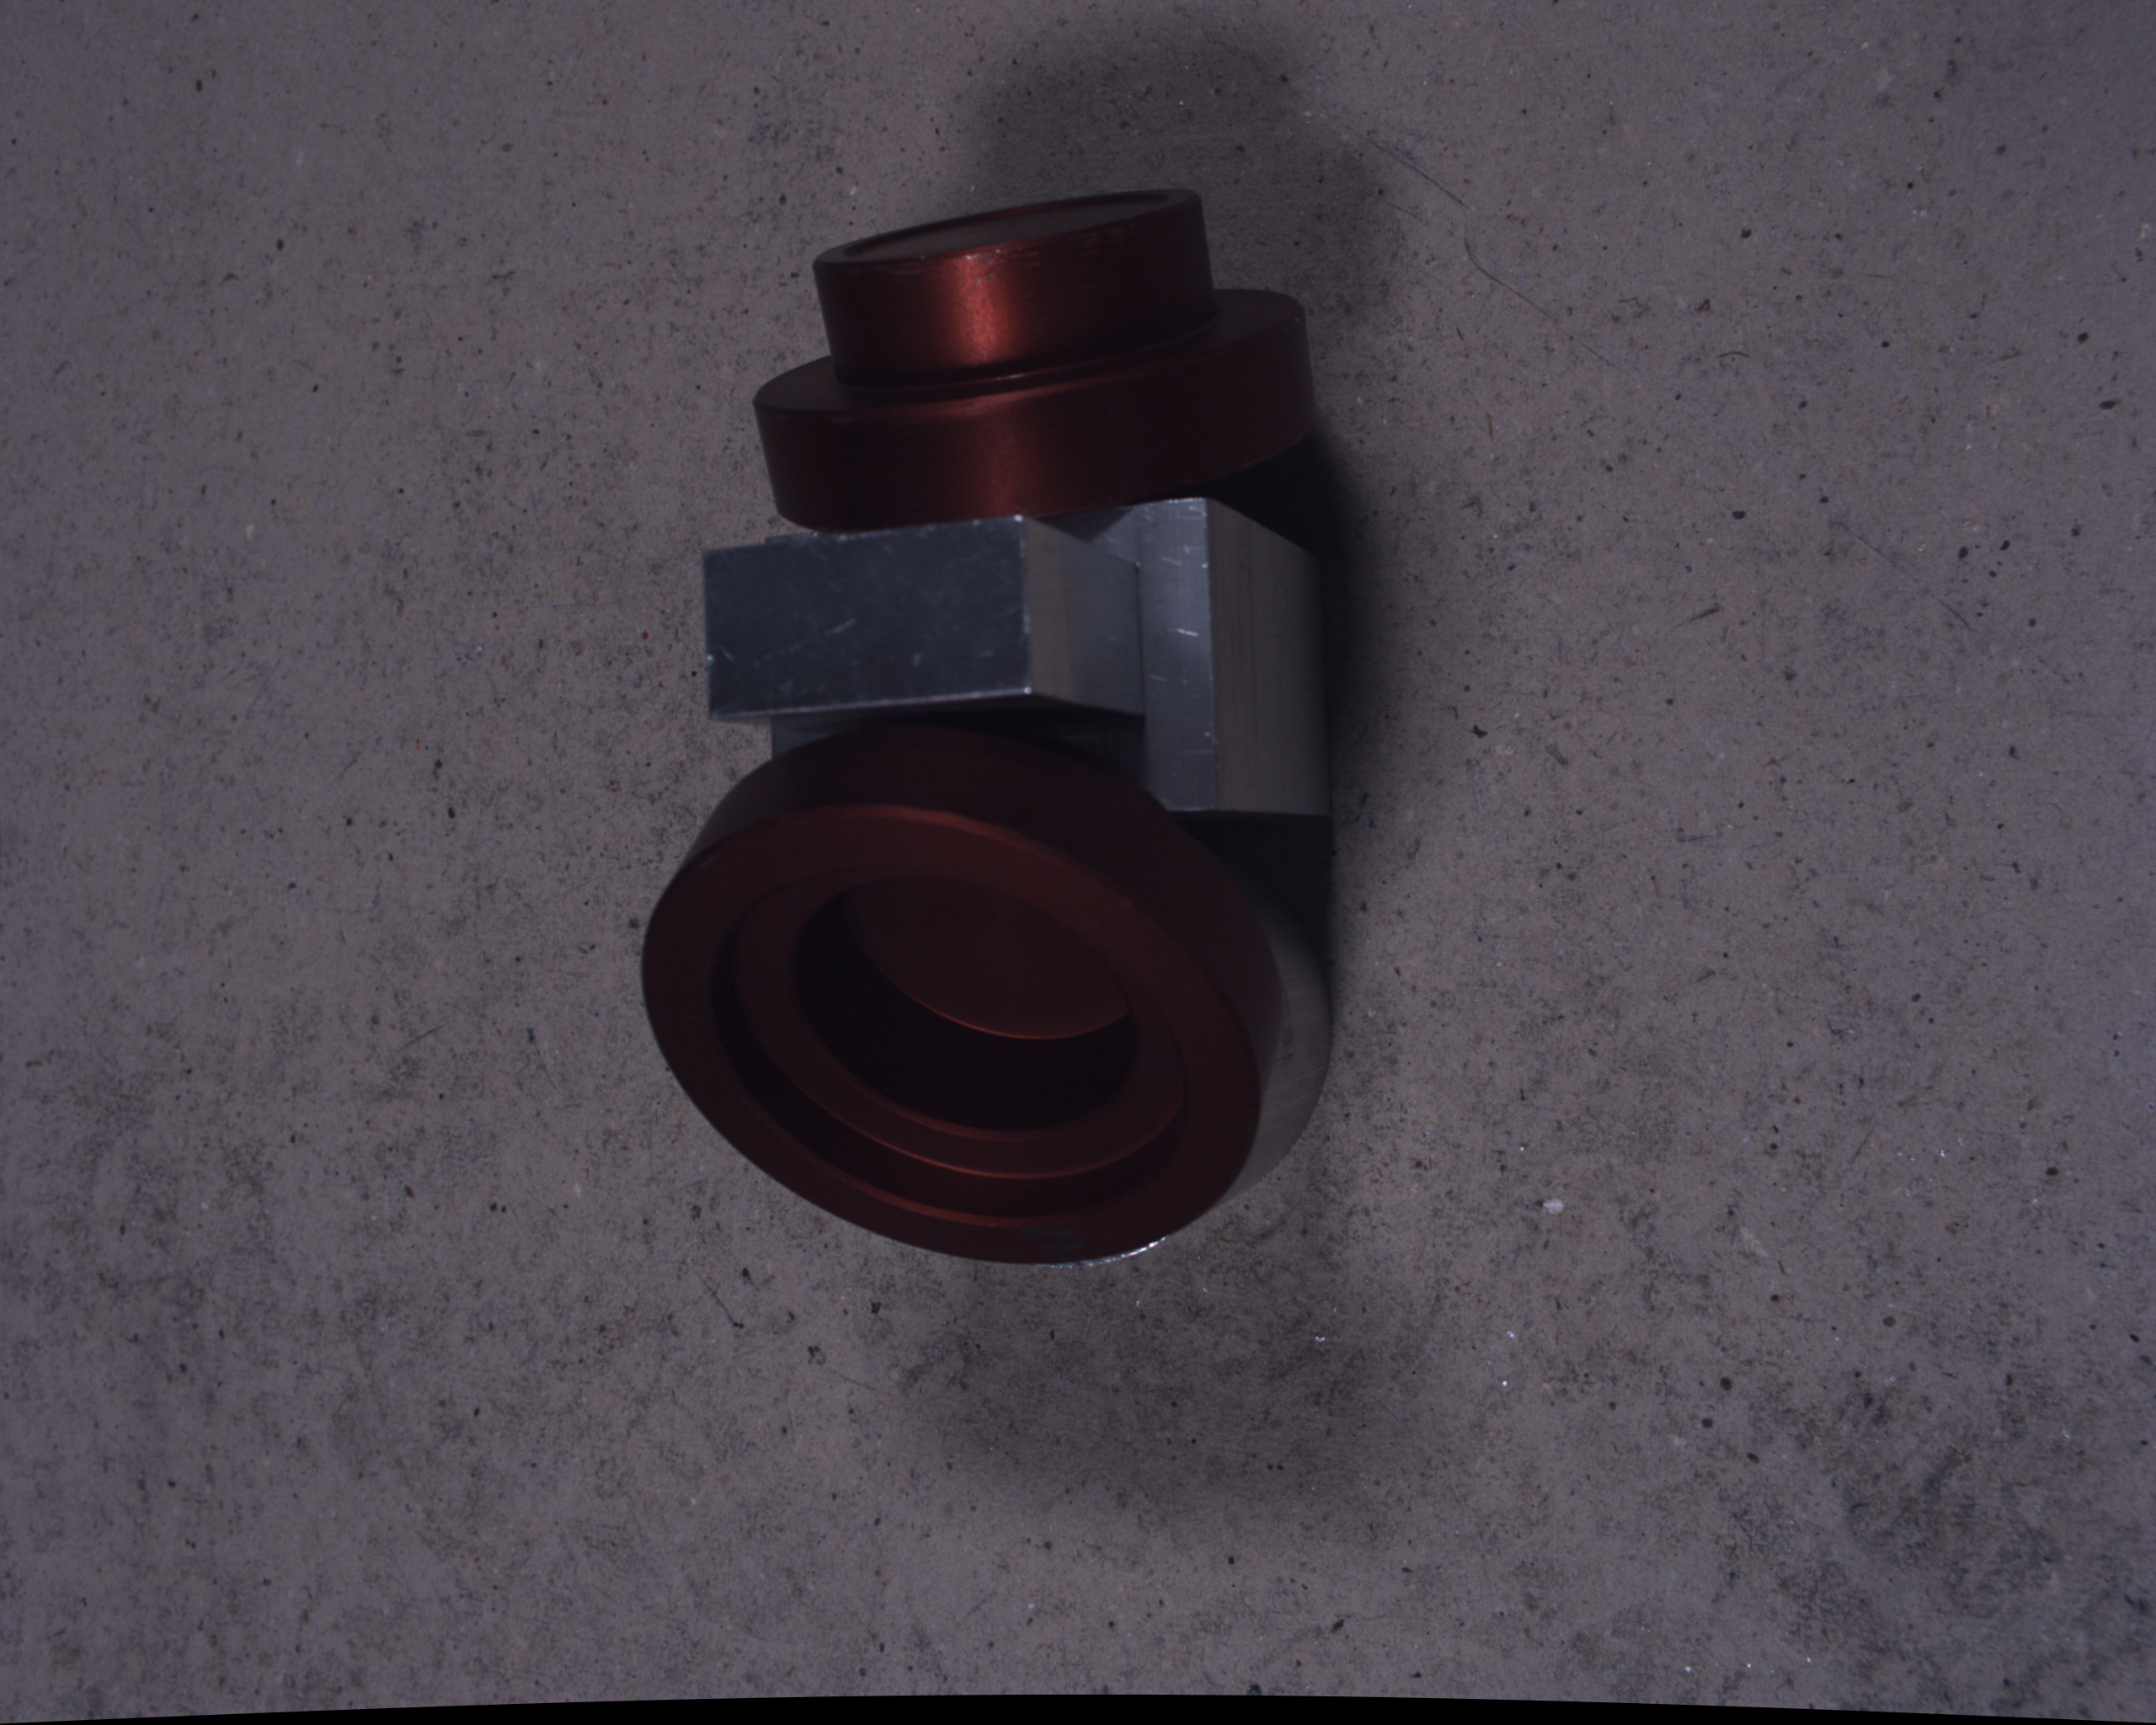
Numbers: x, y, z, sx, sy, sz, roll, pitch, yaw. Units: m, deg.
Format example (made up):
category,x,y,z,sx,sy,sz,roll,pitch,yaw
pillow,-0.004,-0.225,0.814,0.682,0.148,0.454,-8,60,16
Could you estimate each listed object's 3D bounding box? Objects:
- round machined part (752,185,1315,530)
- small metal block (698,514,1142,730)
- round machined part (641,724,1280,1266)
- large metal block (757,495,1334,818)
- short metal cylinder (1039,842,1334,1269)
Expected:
category,x,y,z,sx,sy,sz,roll,pitch,yaw
round machined part,-0.010,-0.092,0.370,0.098,0.098,0.042,-2,114,19
small metal block,-0.023,-0.034,0.318,0.050,0.050,0.025,-3,89,20
round machined part,-0.016,0.017,0.336,0.098,0.042,0.097,9,131,11
large metal block,-0.003,-0.032,0.380,0.080,0.080,0.050,-2,90,19
short metal cylinder,0.003,0.033,0.396,0.080,0.050,0.079,0,90,19
